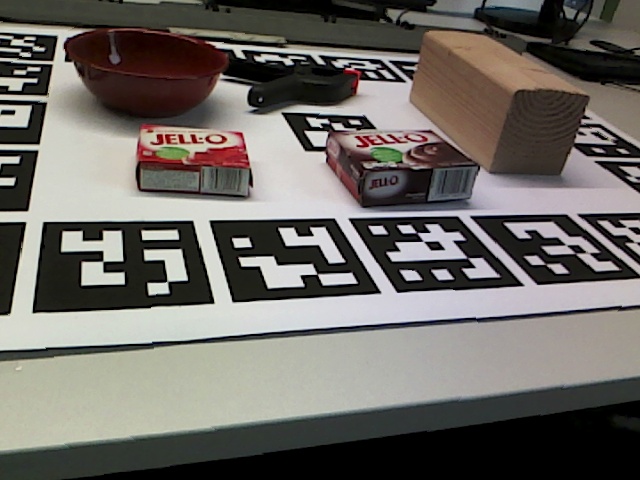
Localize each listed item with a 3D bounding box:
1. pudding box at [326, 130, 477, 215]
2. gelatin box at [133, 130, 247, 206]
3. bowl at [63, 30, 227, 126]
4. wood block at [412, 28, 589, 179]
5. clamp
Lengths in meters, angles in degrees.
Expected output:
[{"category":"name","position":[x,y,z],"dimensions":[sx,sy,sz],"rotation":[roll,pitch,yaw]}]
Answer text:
[{"category":"pudding box","position":[0.071,-0.064,0.571],"dimensions":[0.113,0.038,0.090],"rotation":[-5,40,-18]},{"category":"gelatin box","position":[-0.109,-0.062,0.523],"dimensions":[0.089,0.030,0.073],"rotation":[2,36,-12]},{"category":"bowl","position":[-0.181,-0.164,0.645],"dimensions":[0.161,0.055,0.162],"rotation":[8,36,-6]},{"category":"wood block","position":[0.192,-0.159,0.696],"dimensions":[0.089,0.091,0.207],"rotation":[0,35,-17]},{"category":"clamp","position":[-0.042,-0.186,0.734],"dimensions":[0.164,0.036,0.122],"rotation":[-8,38,-29]}]
